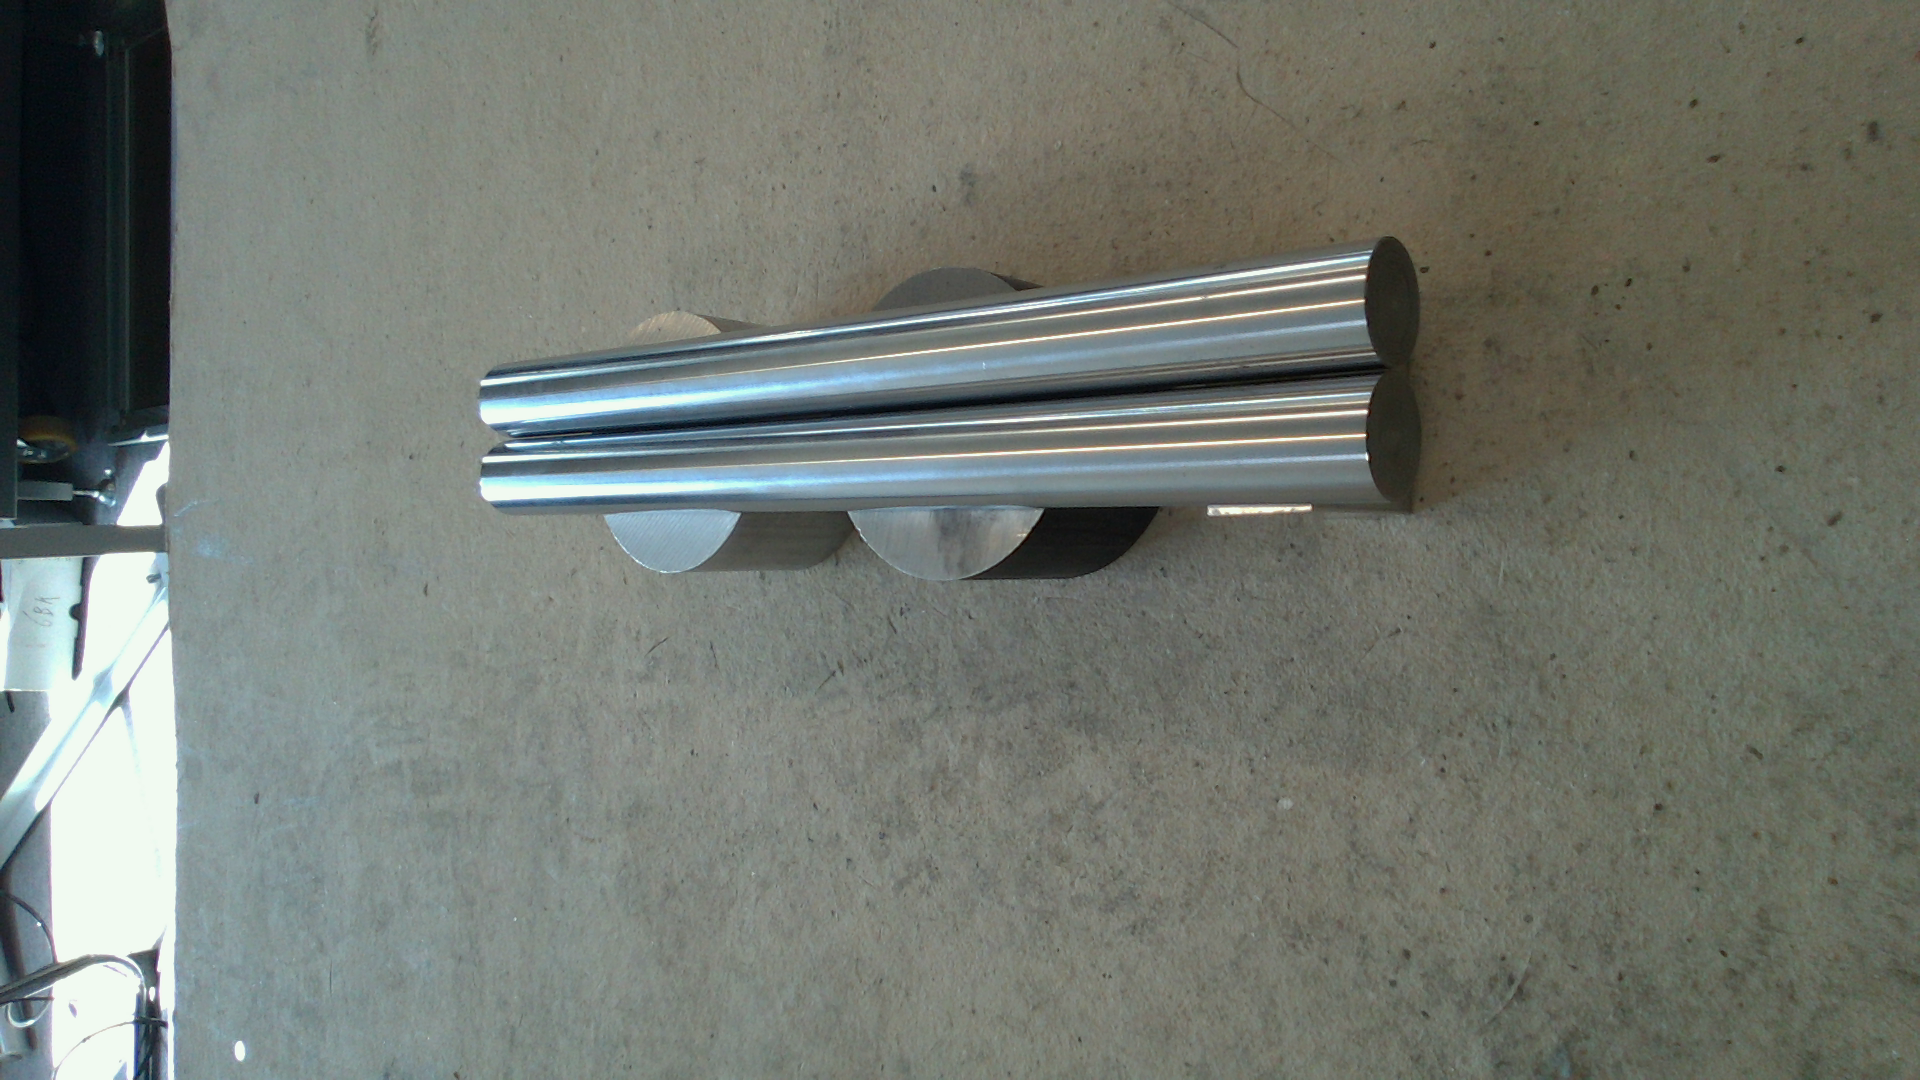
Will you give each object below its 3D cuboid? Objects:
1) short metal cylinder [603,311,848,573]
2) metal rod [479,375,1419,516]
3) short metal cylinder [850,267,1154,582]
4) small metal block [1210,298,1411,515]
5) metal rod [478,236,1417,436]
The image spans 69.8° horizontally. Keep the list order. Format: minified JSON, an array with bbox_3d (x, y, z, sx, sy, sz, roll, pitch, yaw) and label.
[{"bbox_3d":[-0.074,-0.030,0.440,0.080,0.050,0.080,0,90,40],"label":"short metal cylinder"},{"bbox_3d":[-0.033,-0.019,0.356,0.299,0.025,0.025,0,90,40],"label":"metal rod"},{"bbox_3d":[0.011,-0.029,0.370,0.080,0.050,0.080,0,90,40],"label":"short metal cylinder"},{"bbox_3d":[0.080,-0.031,0.313,0.025,0.050,0.050,-2,88,40],"label":"small metal block"},{"bbox_3d":[-0.033,-0.045,0.356,0.299,0.025,0.025,0,90,40],"label":"metal rod"}]
